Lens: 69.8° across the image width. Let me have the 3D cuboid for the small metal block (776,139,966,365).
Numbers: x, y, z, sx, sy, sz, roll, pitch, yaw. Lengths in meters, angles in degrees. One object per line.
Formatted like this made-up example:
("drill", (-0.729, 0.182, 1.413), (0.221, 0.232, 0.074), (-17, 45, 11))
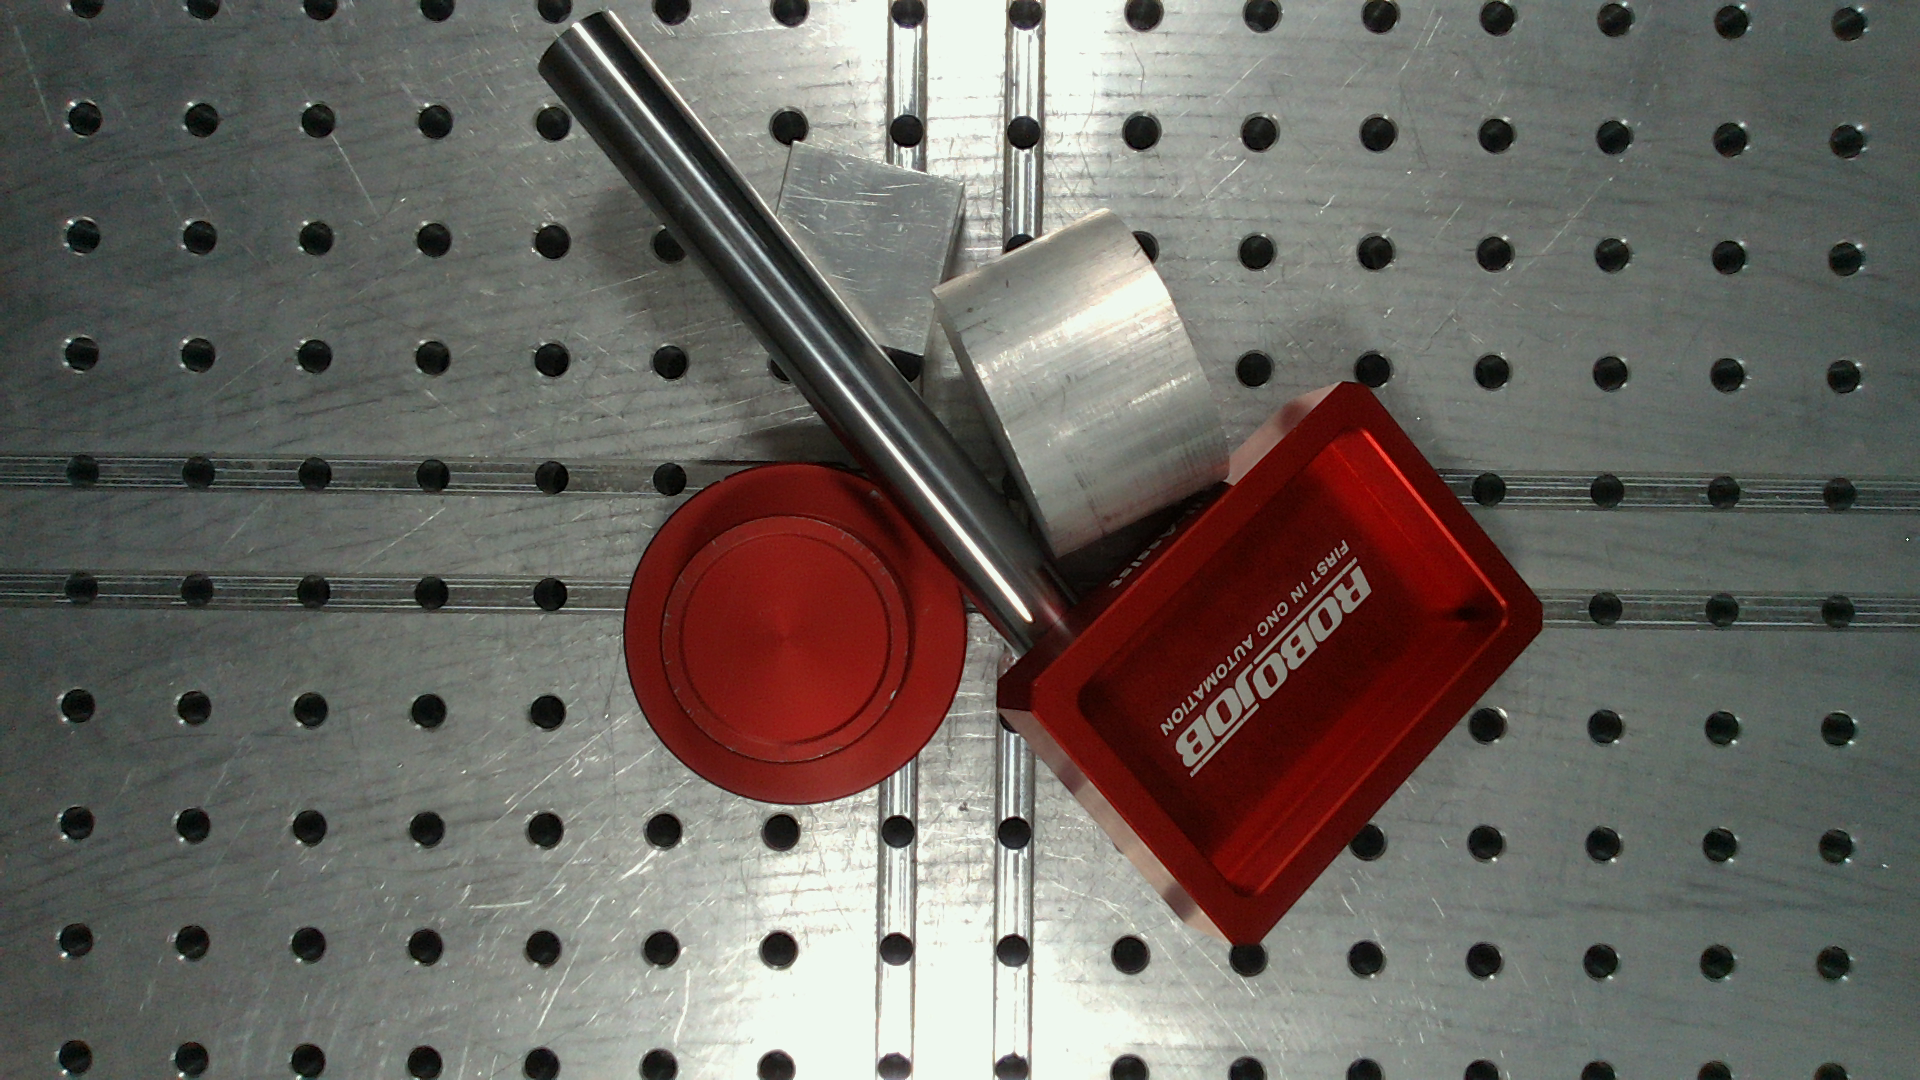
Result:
("small metal block", (-0.028, -0.082, 0.398), (0.050, 0.025, 0.050), (13, 90, 0))

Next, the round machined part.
("round machined part", (-0.047, 0.027, 0.388), (0.098, 0.042, 0.098), (0, 90, 0))

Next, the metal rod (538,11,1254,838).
("metal rod", (-0.006, -0.015, 0.381), (0.025, 0.025, 0.300), (-40, 98, 0))

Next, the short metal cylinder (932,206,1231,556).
("short metal cylinder", (0.032, -0.042, 0.370), (0.050, 0.080, 0.080), (-25, 90, 0))

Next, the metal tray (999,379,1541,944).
("metal tray", (0.086, 0.031, 0.374), (0.130, 0.030, 0.090), (-43, 98, -15))
